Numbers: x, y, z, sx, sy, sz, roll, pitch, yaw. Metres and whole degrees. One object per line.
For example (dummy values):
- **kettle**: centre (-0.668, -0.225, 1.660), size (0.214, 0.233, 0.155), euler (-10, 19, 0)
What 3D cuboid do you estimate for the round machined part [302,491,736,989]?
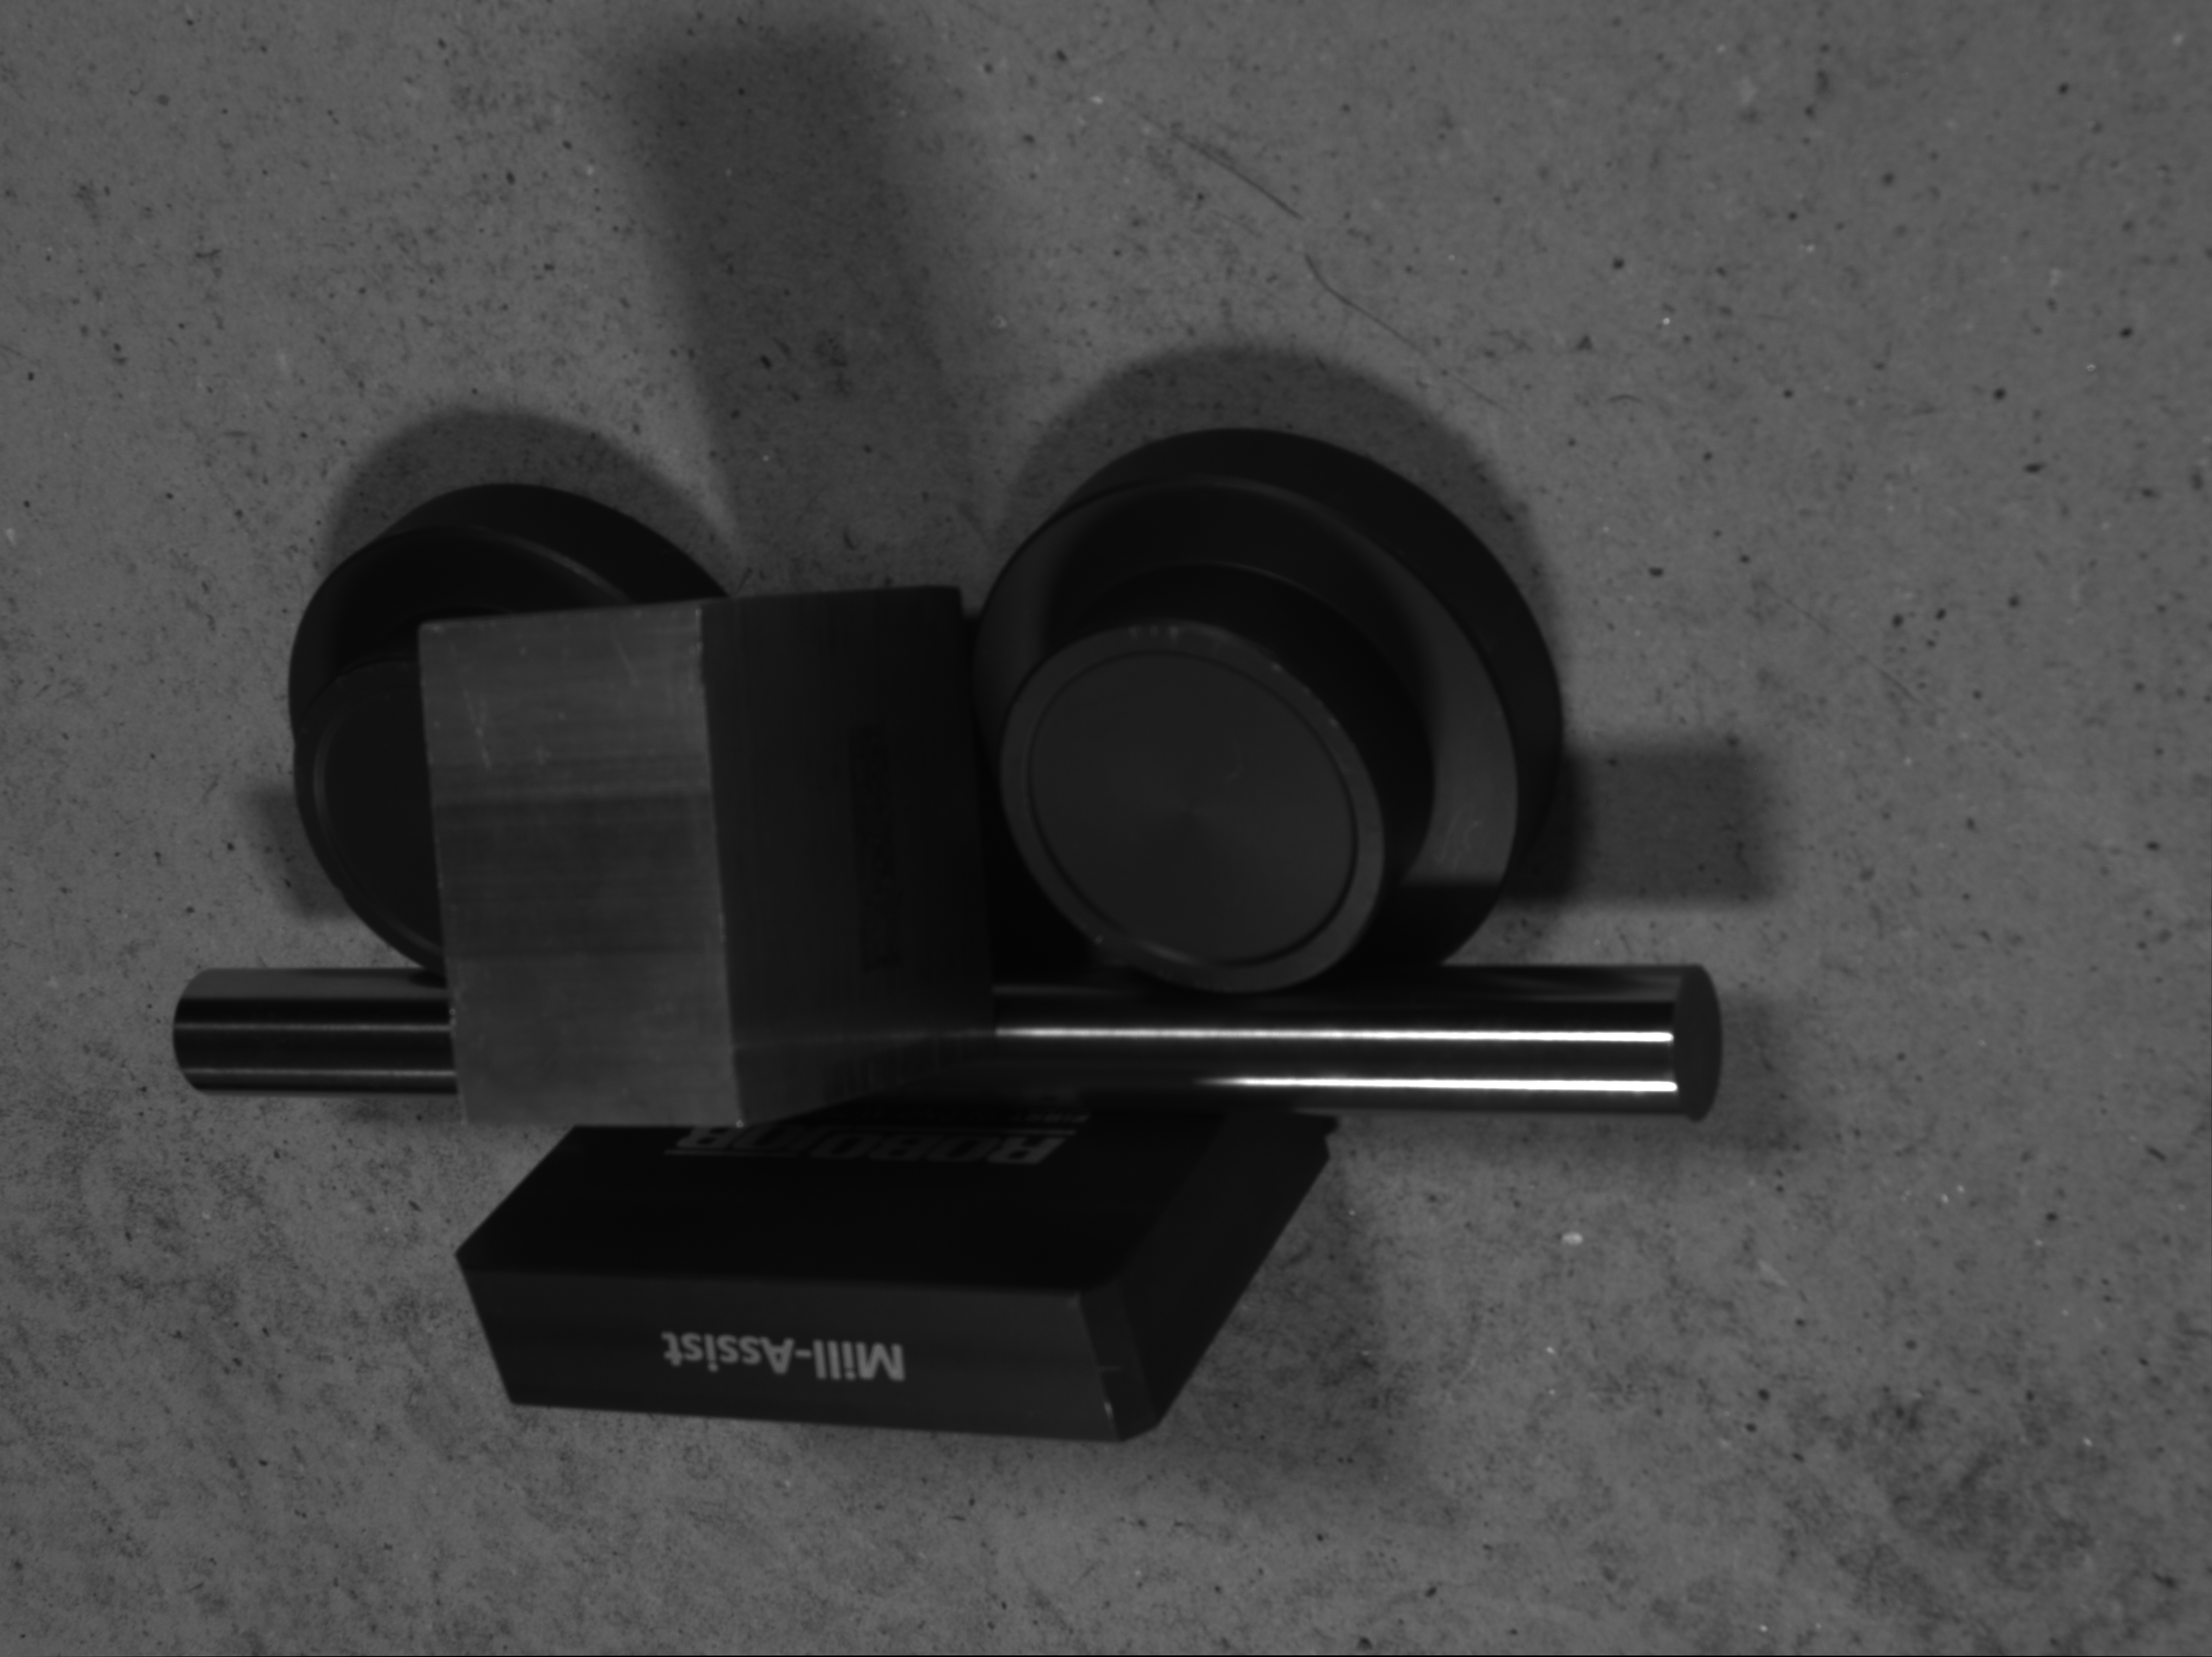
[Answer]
- **round machined part**: centre (-0.105, -0.008, 0.666), size (0.098, 0.042, 0.098), euler (12, 123, 20)

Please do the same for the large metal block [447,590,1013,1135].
- **large metal block**: centre (-0.059, 0.004, 0.594), size (0.050, 0.080, 0.080), euler (-2, 93, 27)

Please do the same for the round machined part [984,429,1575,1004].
- **round machined part**: centre (0.024, -0.012, 0.600), size (0.098, 0.042, 0.098), euler (12, 123, 20)

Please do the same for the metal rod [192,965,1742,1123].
- **metal rod**: centre (-0.037, 0.037, 0.646), size (0.299, 0.025, 0.025), euler (-1, 118, 27)

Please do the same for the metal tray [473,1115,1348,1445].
- **metal tray**: centre (-0.034, 0.067, 0.647), size (0.130, 0.090, 0.030), euler (-1, 118, 27)
